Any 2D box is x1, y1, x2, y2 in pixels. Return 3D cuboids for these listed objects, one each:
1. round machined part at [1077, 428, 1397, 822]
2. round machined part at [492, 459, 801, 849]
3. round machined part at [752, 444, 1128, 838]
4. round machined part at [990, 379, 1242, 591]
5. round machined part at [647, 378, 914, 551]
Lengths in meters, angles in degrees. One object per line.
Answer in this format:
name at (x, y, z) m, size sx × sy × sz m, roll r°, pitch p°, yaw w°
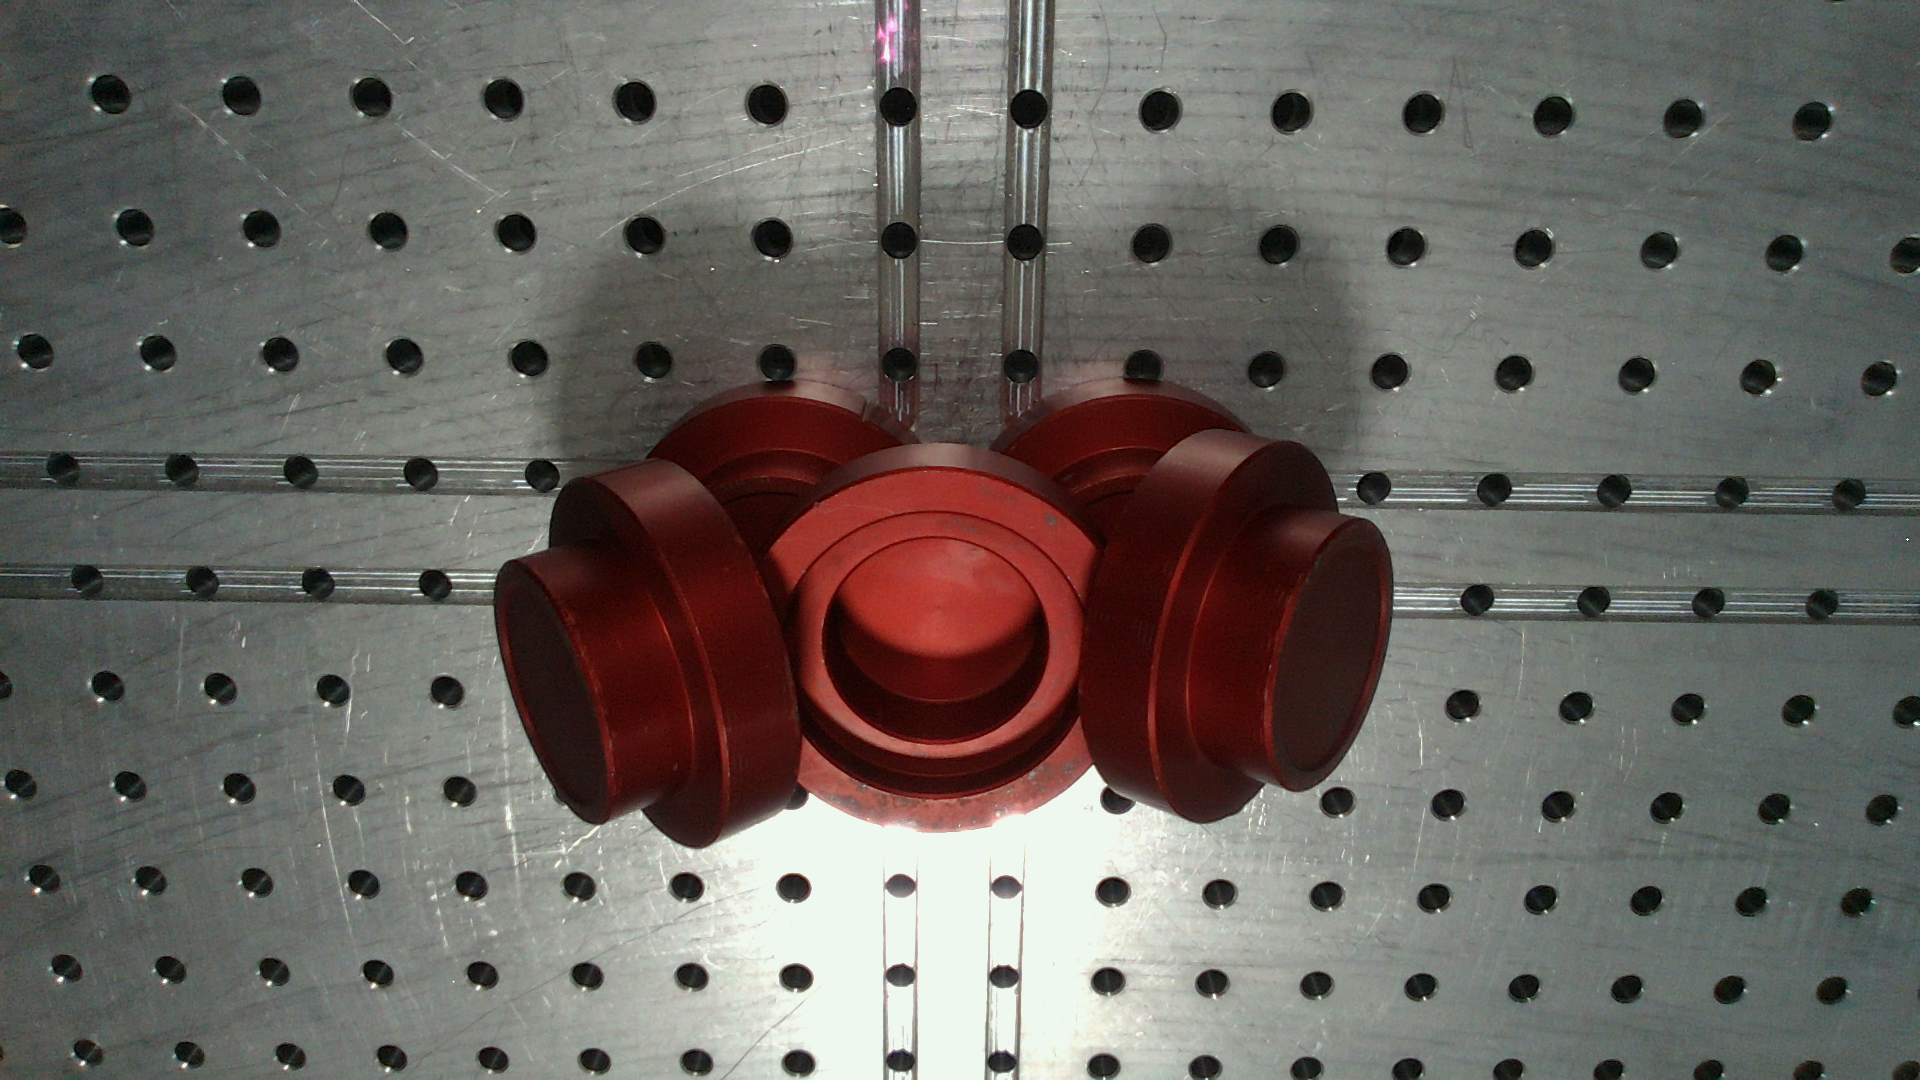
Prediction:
round machined part at (0.074, 0.024, 0.342) m, size 0.042 × 0.098 × 0.098 m, roll 16°, pitch 116°, yaw 37°
round machined part at (-0.083, 0.032, 0.344) m, size 0.042 × 0.098 × 0.098 m, roll -20°, pitch 114°, yaw -33°
round machined part at (-0.005, 0.022, 0.350) m, size 0.098 × 0.042 × 0.098 m, roll 0°, pitch 110°, yaw 0°
round machined part at (0.048, 0.007, 0.390) m, size 0.098 × 0.042 × 0.098 m, roll 0°, pitch 110°, yaw 0°
round machined part at (-0.049, 0.007, 0.389) m, size 0.098 × 0.042 × 0.098 m, roll 0°, pitch 110°, yaw 0°
